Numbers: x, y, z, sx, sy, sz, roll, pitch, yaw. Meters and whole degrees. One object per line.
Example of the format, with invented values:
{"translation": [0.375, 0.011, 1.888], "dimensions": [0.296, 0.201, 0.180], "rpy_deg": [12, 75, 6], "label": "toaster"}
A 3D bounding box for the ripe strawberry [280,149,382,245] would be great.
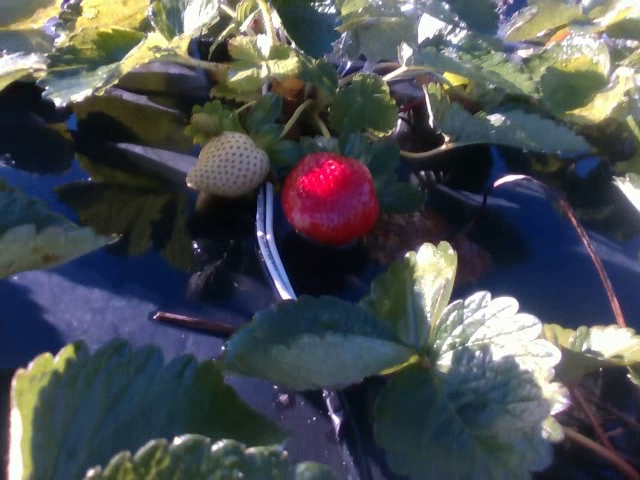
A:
{"translation": [0.008, -0.023, 0.291], "dimensions": [0.040, 0.063, 0.080], "rpy_deg": [-39, 0, 28], "label": "ripe strawberry"}
